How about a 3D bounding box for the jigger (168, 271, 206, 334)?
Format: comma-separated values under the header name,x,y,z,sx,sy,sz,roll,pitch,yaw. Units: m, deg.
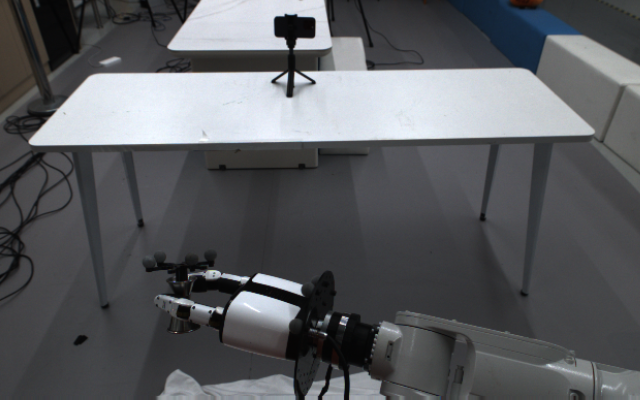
name,x,y,z,sx,sy,sz,roll,pitch,yaw
jigger,-0.183,0.139,0.647,0.043,0.071,0.043,-2,4,0
